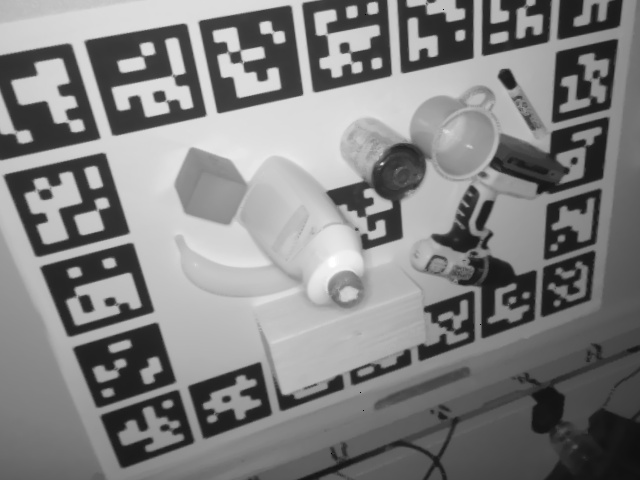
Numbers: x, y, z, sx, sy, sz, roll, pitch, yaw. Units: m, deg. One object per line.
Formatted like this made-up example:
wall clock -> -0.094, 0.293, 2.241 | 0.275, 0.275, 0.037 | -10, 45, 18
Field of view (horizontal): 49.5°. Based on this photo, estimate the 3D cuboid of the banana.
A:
banana -> -0.073, 0.020, 0.836 | 0.199, 0.038, 0.074 | 2, 101, -19

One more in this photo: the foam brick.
foam brick -> -0.124, -0.093, 0.742 | 0.053, 0.078, 0.051 | 20, 110, -30

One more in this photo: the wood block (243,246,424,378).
wood block -> 0.018, 0.089, 0.880 | 0.208, 0.091, 0.089 | -14, 119, -14

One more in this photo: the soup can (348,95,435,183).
soup can -> 0.077, -0.116, 0.783 | 0.068, 0.102, 0.067 | -9, 123, -14

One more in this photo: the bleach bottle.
bleach bottle -> -0.018, -0.032, 0.709 | 0.068, 0.250, 0.101 | 15, 111, -27

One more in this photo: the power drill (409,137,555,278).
power drill -> 0.229, -0.043, 0.917 | 0.186, 0.057, 0.185 | 16, 110, -23

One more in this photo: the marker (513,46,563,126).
marker -> 0.276, -0.194, 0.877 | 0.019, 0.019, 0.121 | -40, 121, 0

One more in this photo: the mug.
mug -> 0.176, -0.151, 0.820 | 0.094, 0.081, 0.116 | 31, 99, -28
